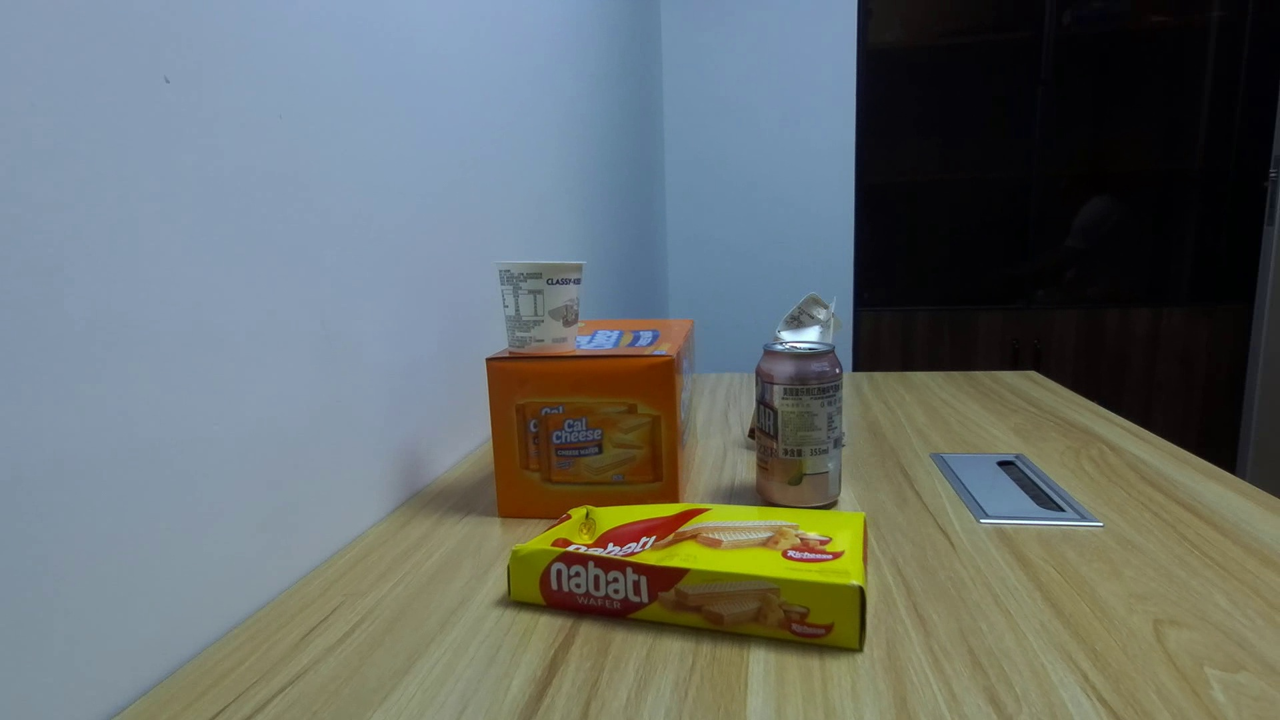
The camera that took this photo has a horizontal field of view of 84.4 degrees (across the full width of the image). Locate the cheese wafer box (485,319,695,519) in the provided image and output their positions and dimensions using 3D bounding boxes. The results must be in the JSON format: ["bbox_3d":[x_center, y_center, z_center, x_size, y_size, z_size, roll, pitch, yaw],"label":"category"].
[{"bbox_3d":[-0.028,0.042,0.630,0.148,0.129,0.222,0,10,8],"label":"cheese wafer box"}]

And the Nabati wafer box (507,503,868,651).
[{"bbox_3d":[0.031,0.118,0.421,0.202,0.042,0.097,1,12,20],"label":"Nabati wafer box"}]

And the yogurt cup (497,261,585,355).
[{"bbox_3d":[-0.077,-0.042,0.549,0.072,0.068,0.072,0,8,0],"label":"yogurt cup"}]

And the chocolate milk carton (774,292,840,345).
[{"bbox_3d":[0.162,0.016,0.685,0.076,0.155,0.090,12,2,38],"label":"chocolate milk carton"}]

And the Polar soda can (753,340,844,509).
[{"bbox_3d":[0.124,0.049,0.551,0.067,0.125,0.067,-2,10,1],"label":"Polar soda can"}]
